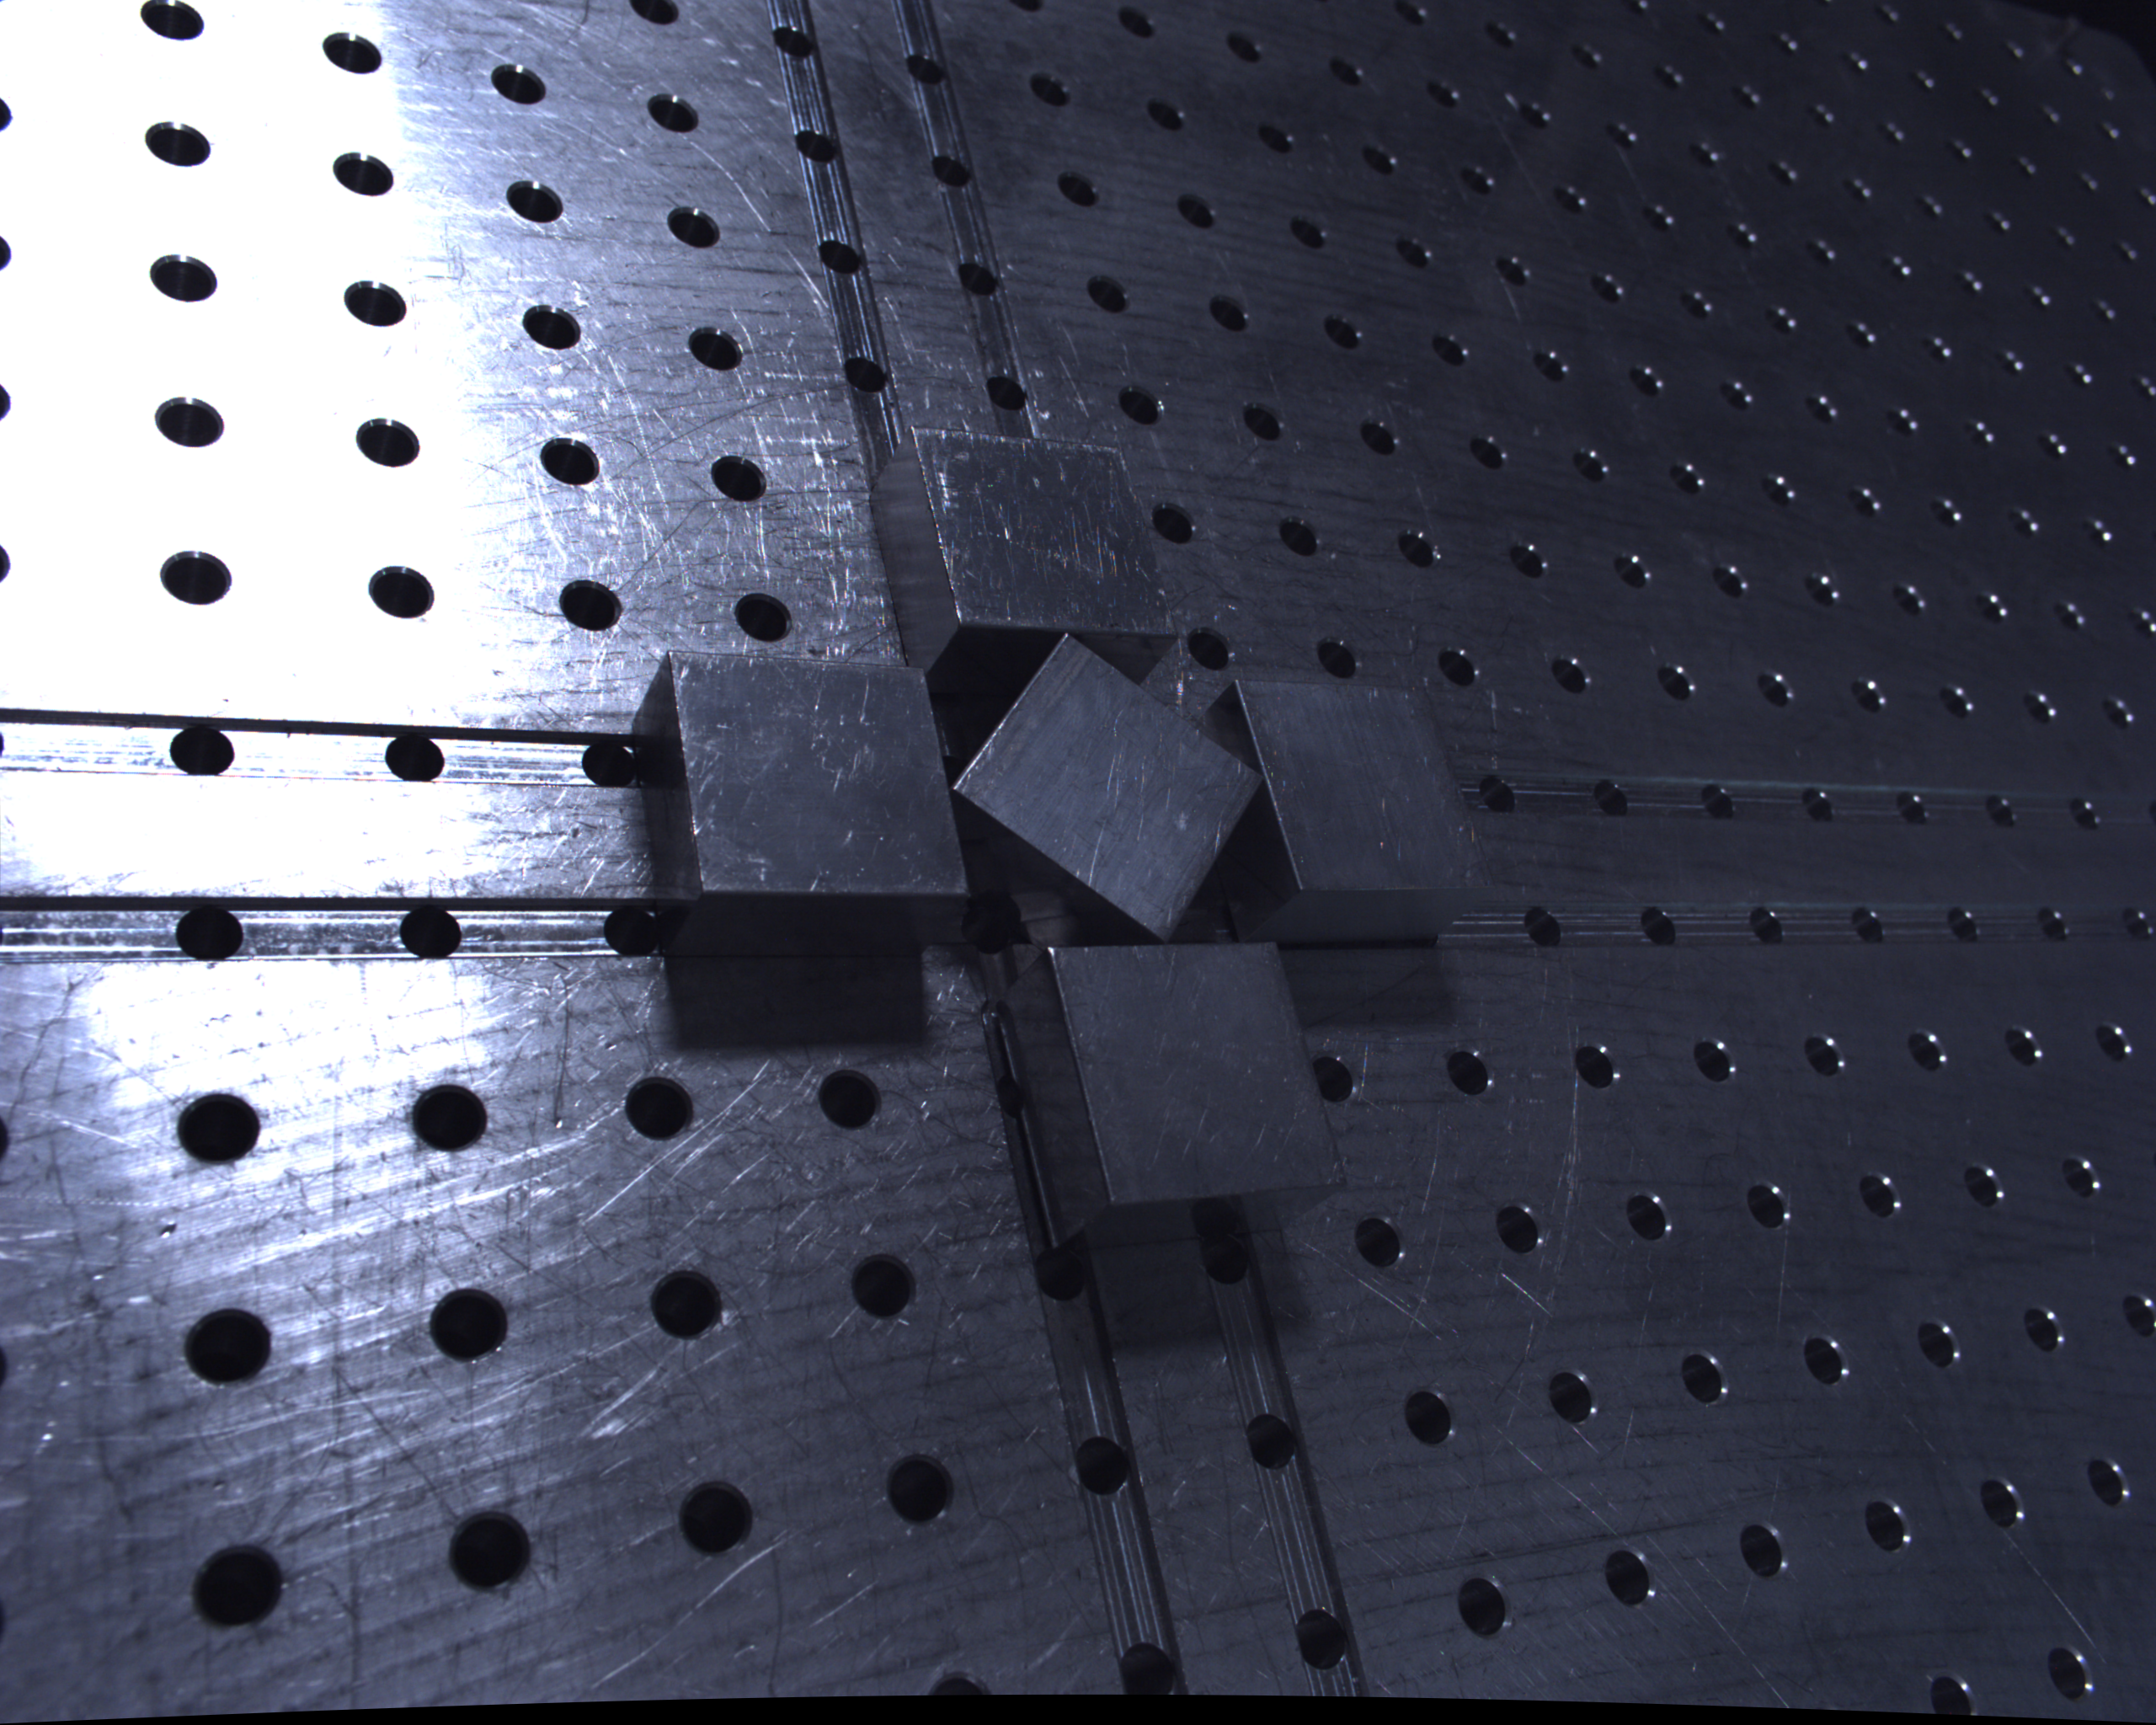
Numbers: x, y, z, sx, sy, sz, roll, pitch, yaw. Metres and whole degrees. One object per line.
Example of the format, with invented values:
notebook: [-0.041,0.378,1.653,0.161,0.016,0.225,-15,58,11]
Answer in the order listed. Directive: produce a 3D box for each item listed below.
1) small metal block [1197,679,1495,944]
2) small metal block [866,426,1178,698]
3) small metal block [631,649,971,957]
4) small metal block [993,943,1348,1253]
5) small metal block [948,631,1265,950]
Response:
small metal block: [0.055,-0.011,0.446,0.050,0.025,0.050,0,62,-29]
small metal block: [-0.012,-0.062,0.441,0.050,0.025,0.050,-1,62,-29]
small metal block: [-0.052,-0.010,0.387,0.050,0.025,0.050,1,61,-28]
small metal block: [0.017,0.043,0.392,0.050,0.025,0.050,0,62,-29]
small metal block: [0.002,-0.010,0.416,0.050,0.025,0.050,36,51,-5]
